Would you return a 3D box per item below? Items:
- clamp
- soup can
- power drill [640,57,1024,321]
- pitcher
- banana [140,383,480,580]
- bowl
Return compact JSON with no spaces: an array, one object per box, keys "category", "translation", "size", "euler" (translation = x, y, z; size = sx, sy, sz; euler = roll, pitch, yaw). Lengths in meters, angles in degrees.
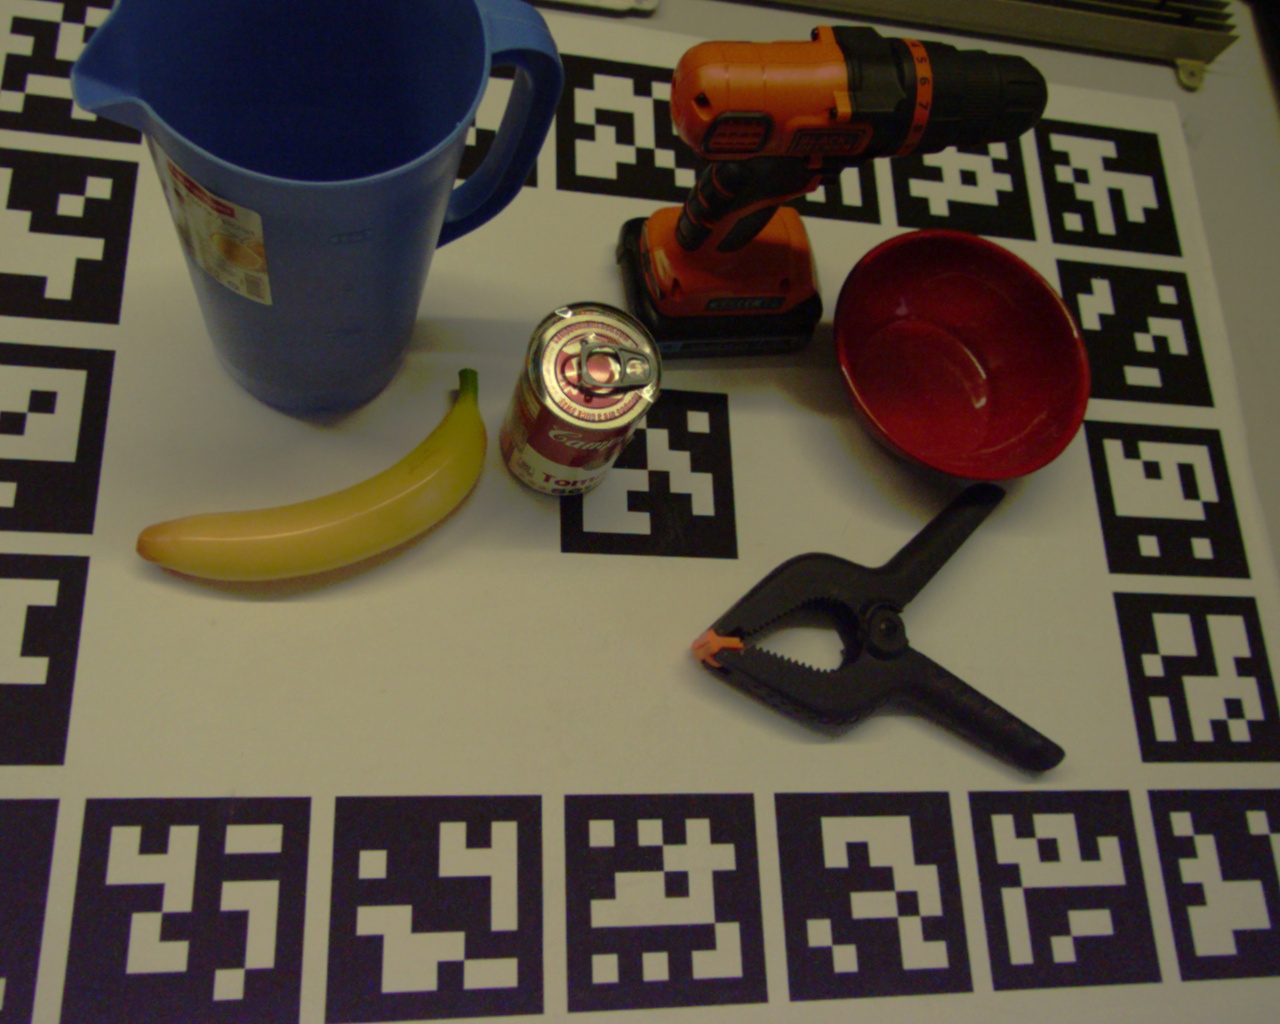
[{"category":"clamp","translation":[0.125,0.064,0.647],"size":[0.201,0.037,0.166],"euler":[-1,77,-14]},{"category":"soup can","translation":[-0.038,-0.061,0.623],"size":[0.067,0.102,0.068],"euler":[5,63,-11]},{"category":"power drill","translation":[0.086,-0.170,0.620],"size":[0.183,0.188,0.057],"euler":[-4,74,-16]},{"category":"pitcher","translation":[-0.141,-0.143,0.548],"size":[0.187,0.243,0.134],"euler":[-23,77,-20]},{"category":"banana","translation":[-0.163,-0.006,0.611],"size":[0.196,0.039,0.075],"euler":[-25,71,-21]},{"category":"bowl","translation":[0.175,-0.087,0.704],"size":[0.161,0.055,0.162],"euler":[3,73,-12]}]
